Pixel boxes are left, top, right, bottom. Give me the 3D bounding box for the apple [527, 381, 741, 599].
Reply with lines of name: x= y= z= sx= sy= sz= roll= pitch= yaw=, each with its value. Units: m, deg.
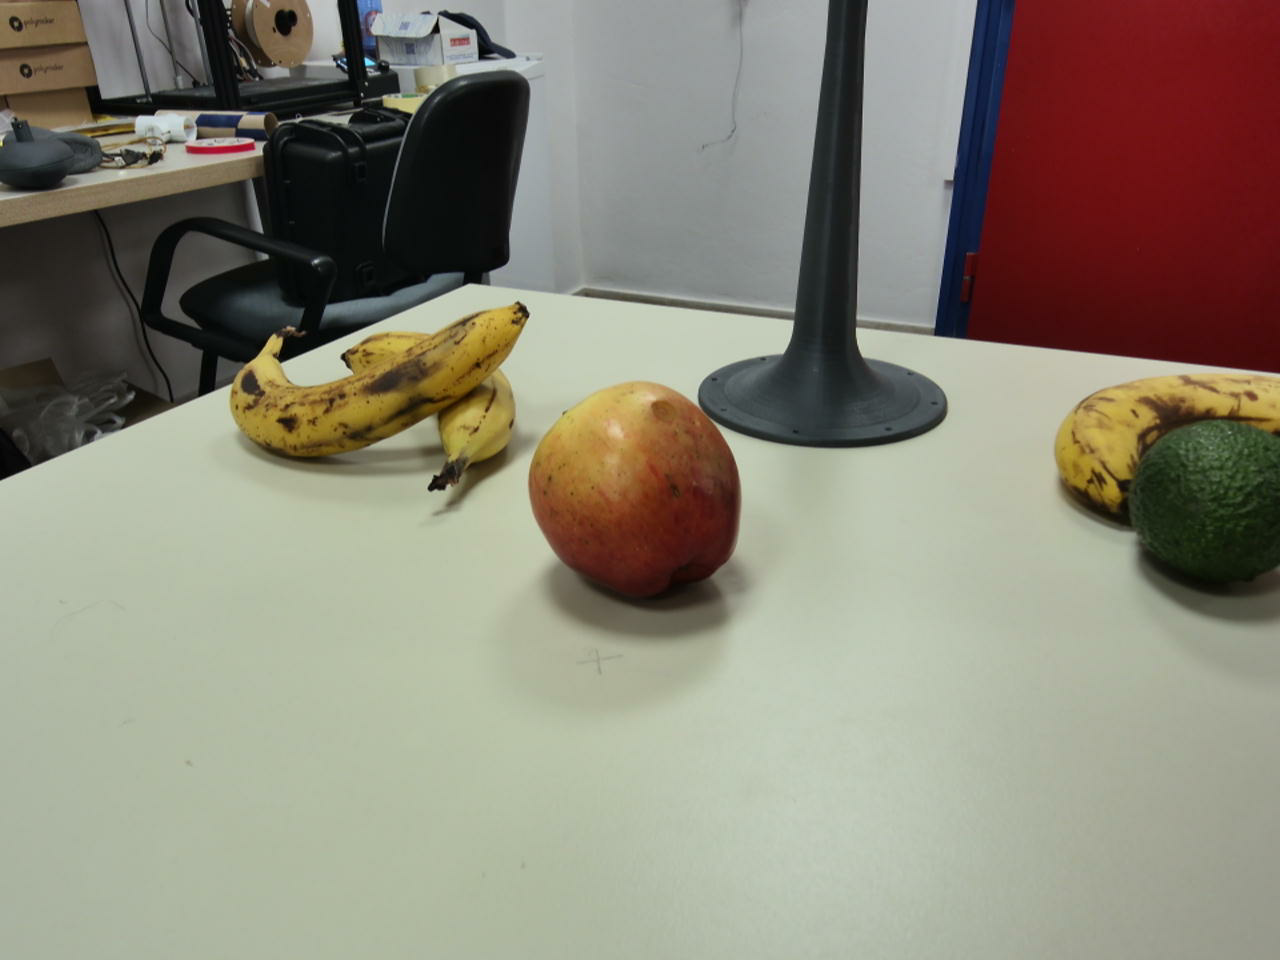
apple: x=-0.003 y=0.003 z=0.416 sx=0.086 sy=0.084 sz=0.093 roll=-5 pitch=24 yaw=-9
